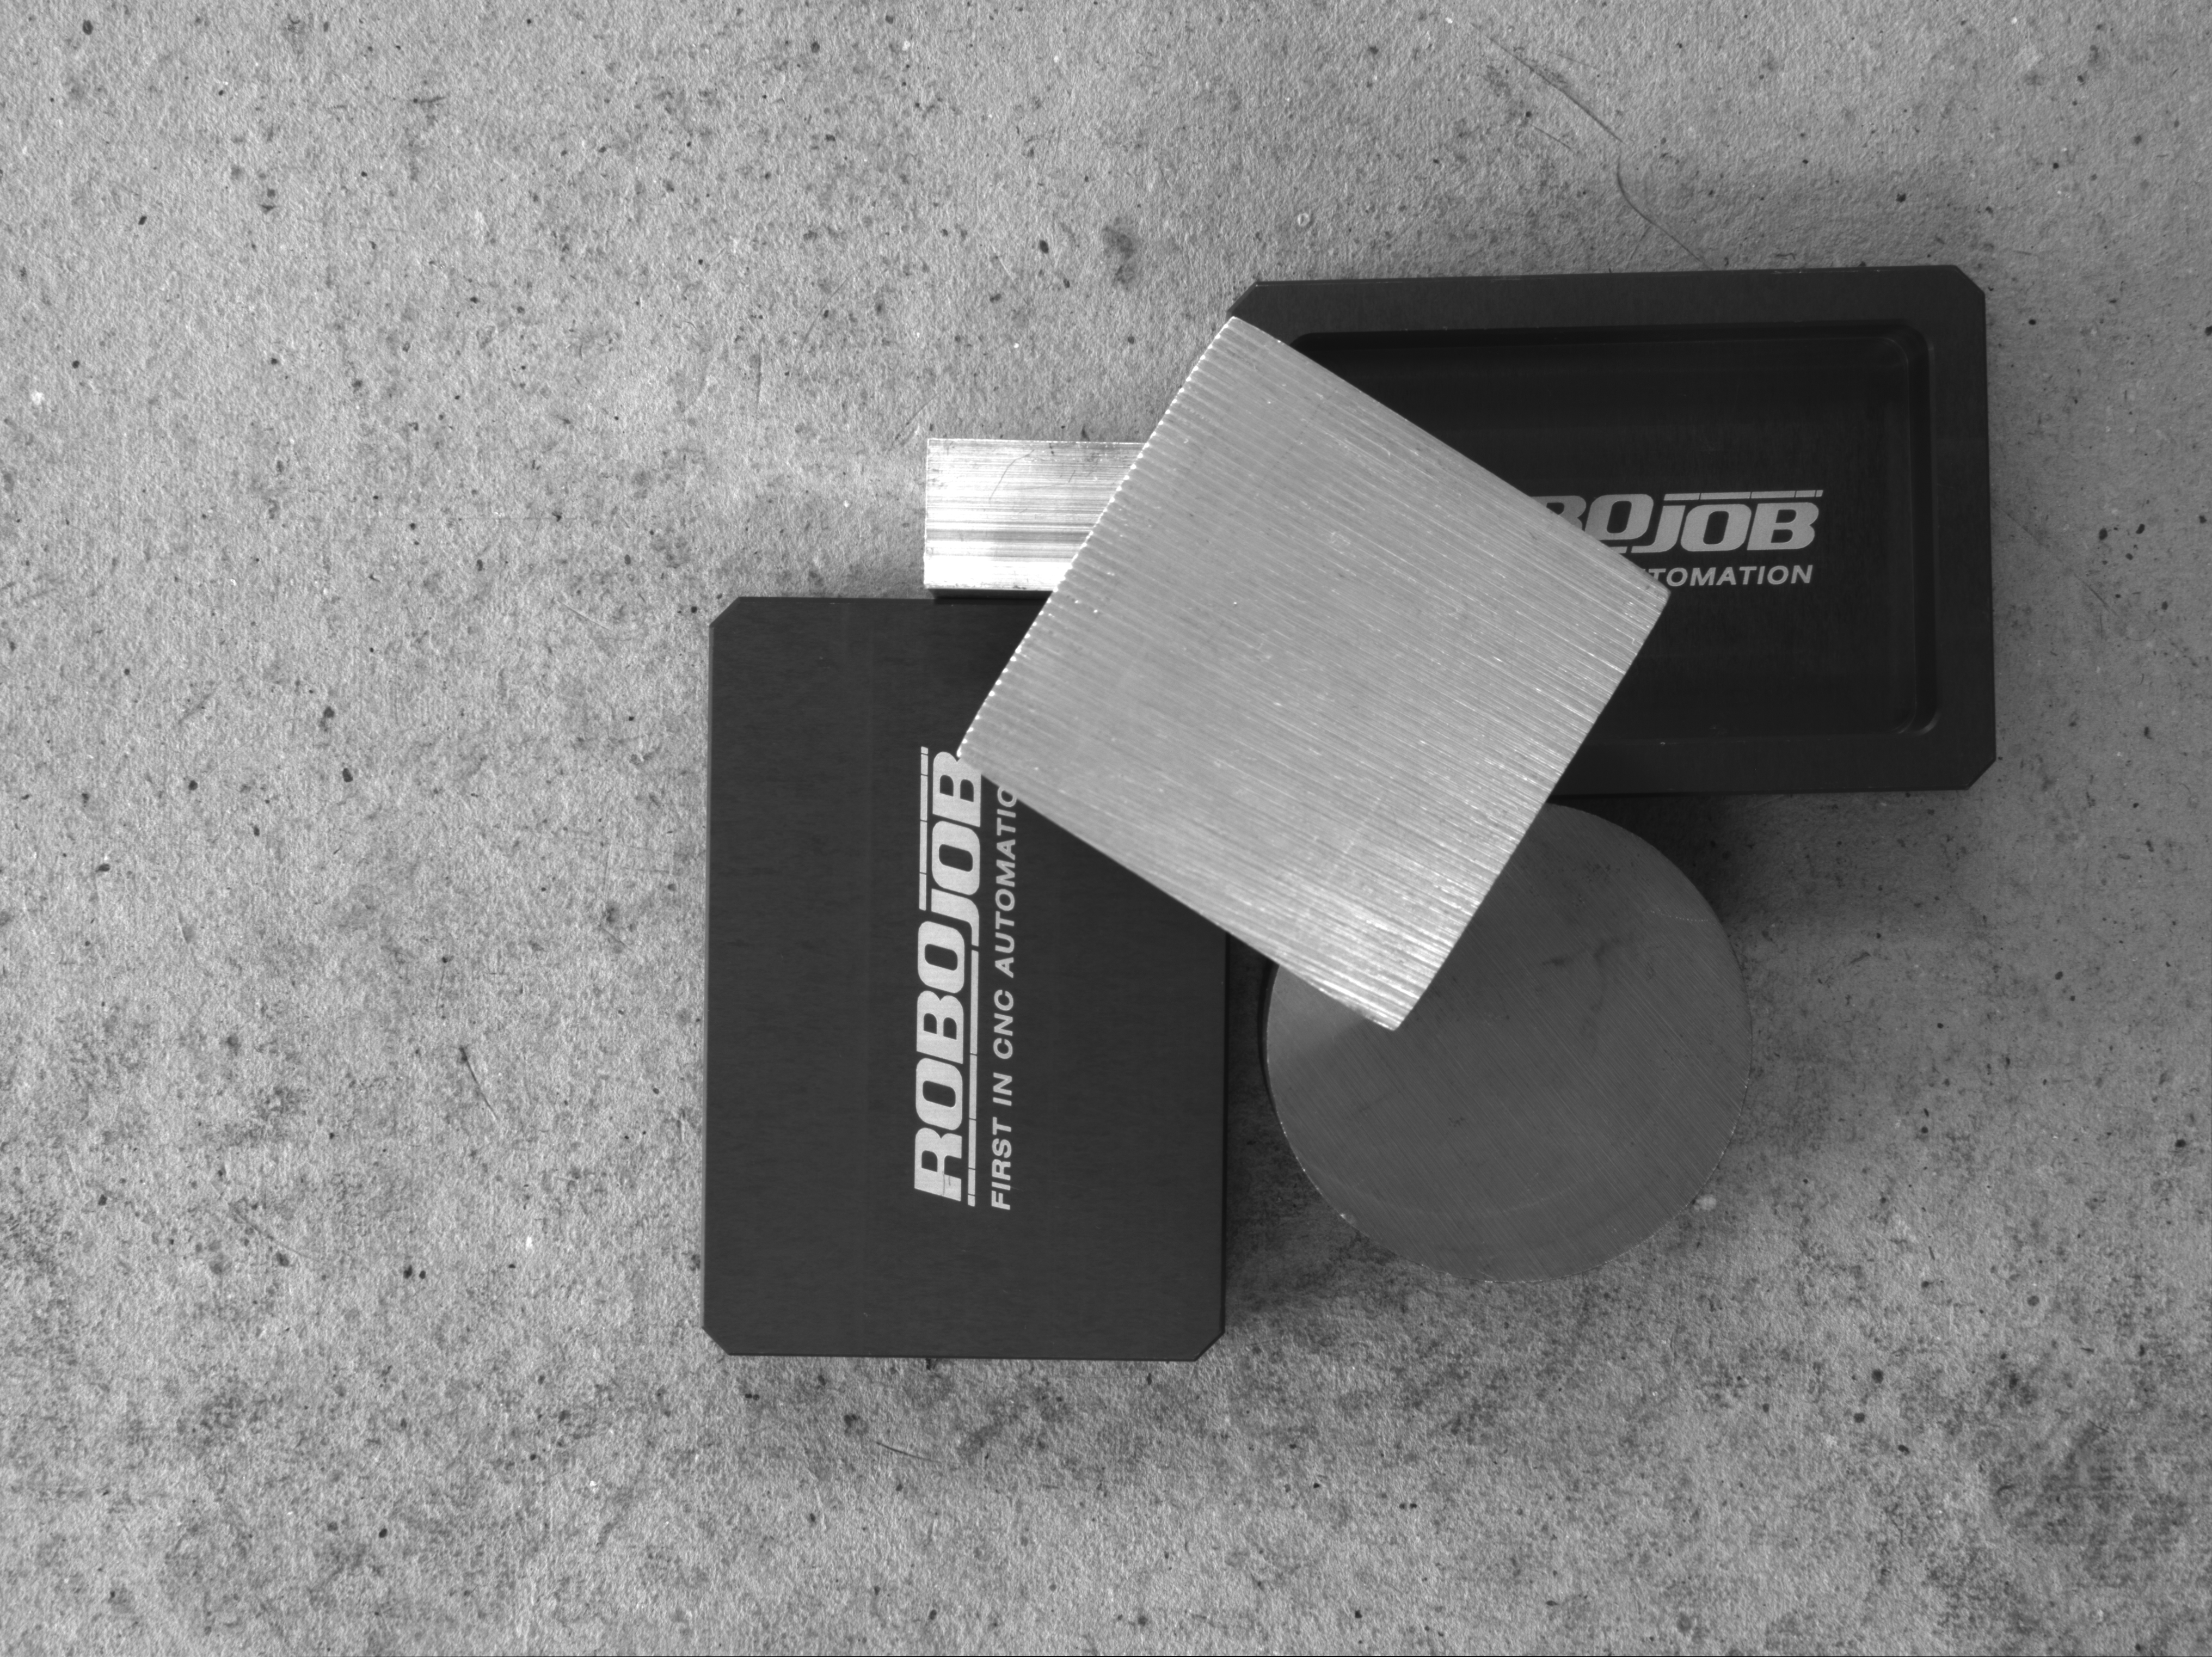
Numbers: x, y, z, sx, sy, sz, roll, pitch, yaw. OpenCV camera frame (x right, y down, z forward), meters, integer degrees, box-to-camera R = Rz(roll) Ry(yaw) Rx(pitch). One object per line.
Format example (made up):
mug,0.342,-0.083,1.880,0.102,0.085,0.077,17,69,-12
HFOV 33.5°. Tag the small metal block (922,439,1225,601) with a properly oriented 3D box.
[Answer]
small metal block,-0.005,-0.052,0.634,0.050,0.050,0.025,1,90,0

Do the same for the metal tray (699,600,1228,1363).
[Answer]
metal tray,-0.024,0.026,0.644,0.090,0.030,0.130,1,90,0

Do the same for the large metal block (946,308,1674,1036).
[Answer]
large metal block,0.031,-0.024,0.582,0.080,0.050,0.080,33,90,0

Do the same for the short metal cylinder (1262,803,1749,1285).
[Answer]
short metal cylinder,0.067,0.036,0.633,0.080,0.050,0.080,0,90,1

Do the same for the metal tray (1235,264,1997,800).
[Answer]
metal tray,0.087,-0.050,0.644,0.130,0.030,0.090,-2,90,0
